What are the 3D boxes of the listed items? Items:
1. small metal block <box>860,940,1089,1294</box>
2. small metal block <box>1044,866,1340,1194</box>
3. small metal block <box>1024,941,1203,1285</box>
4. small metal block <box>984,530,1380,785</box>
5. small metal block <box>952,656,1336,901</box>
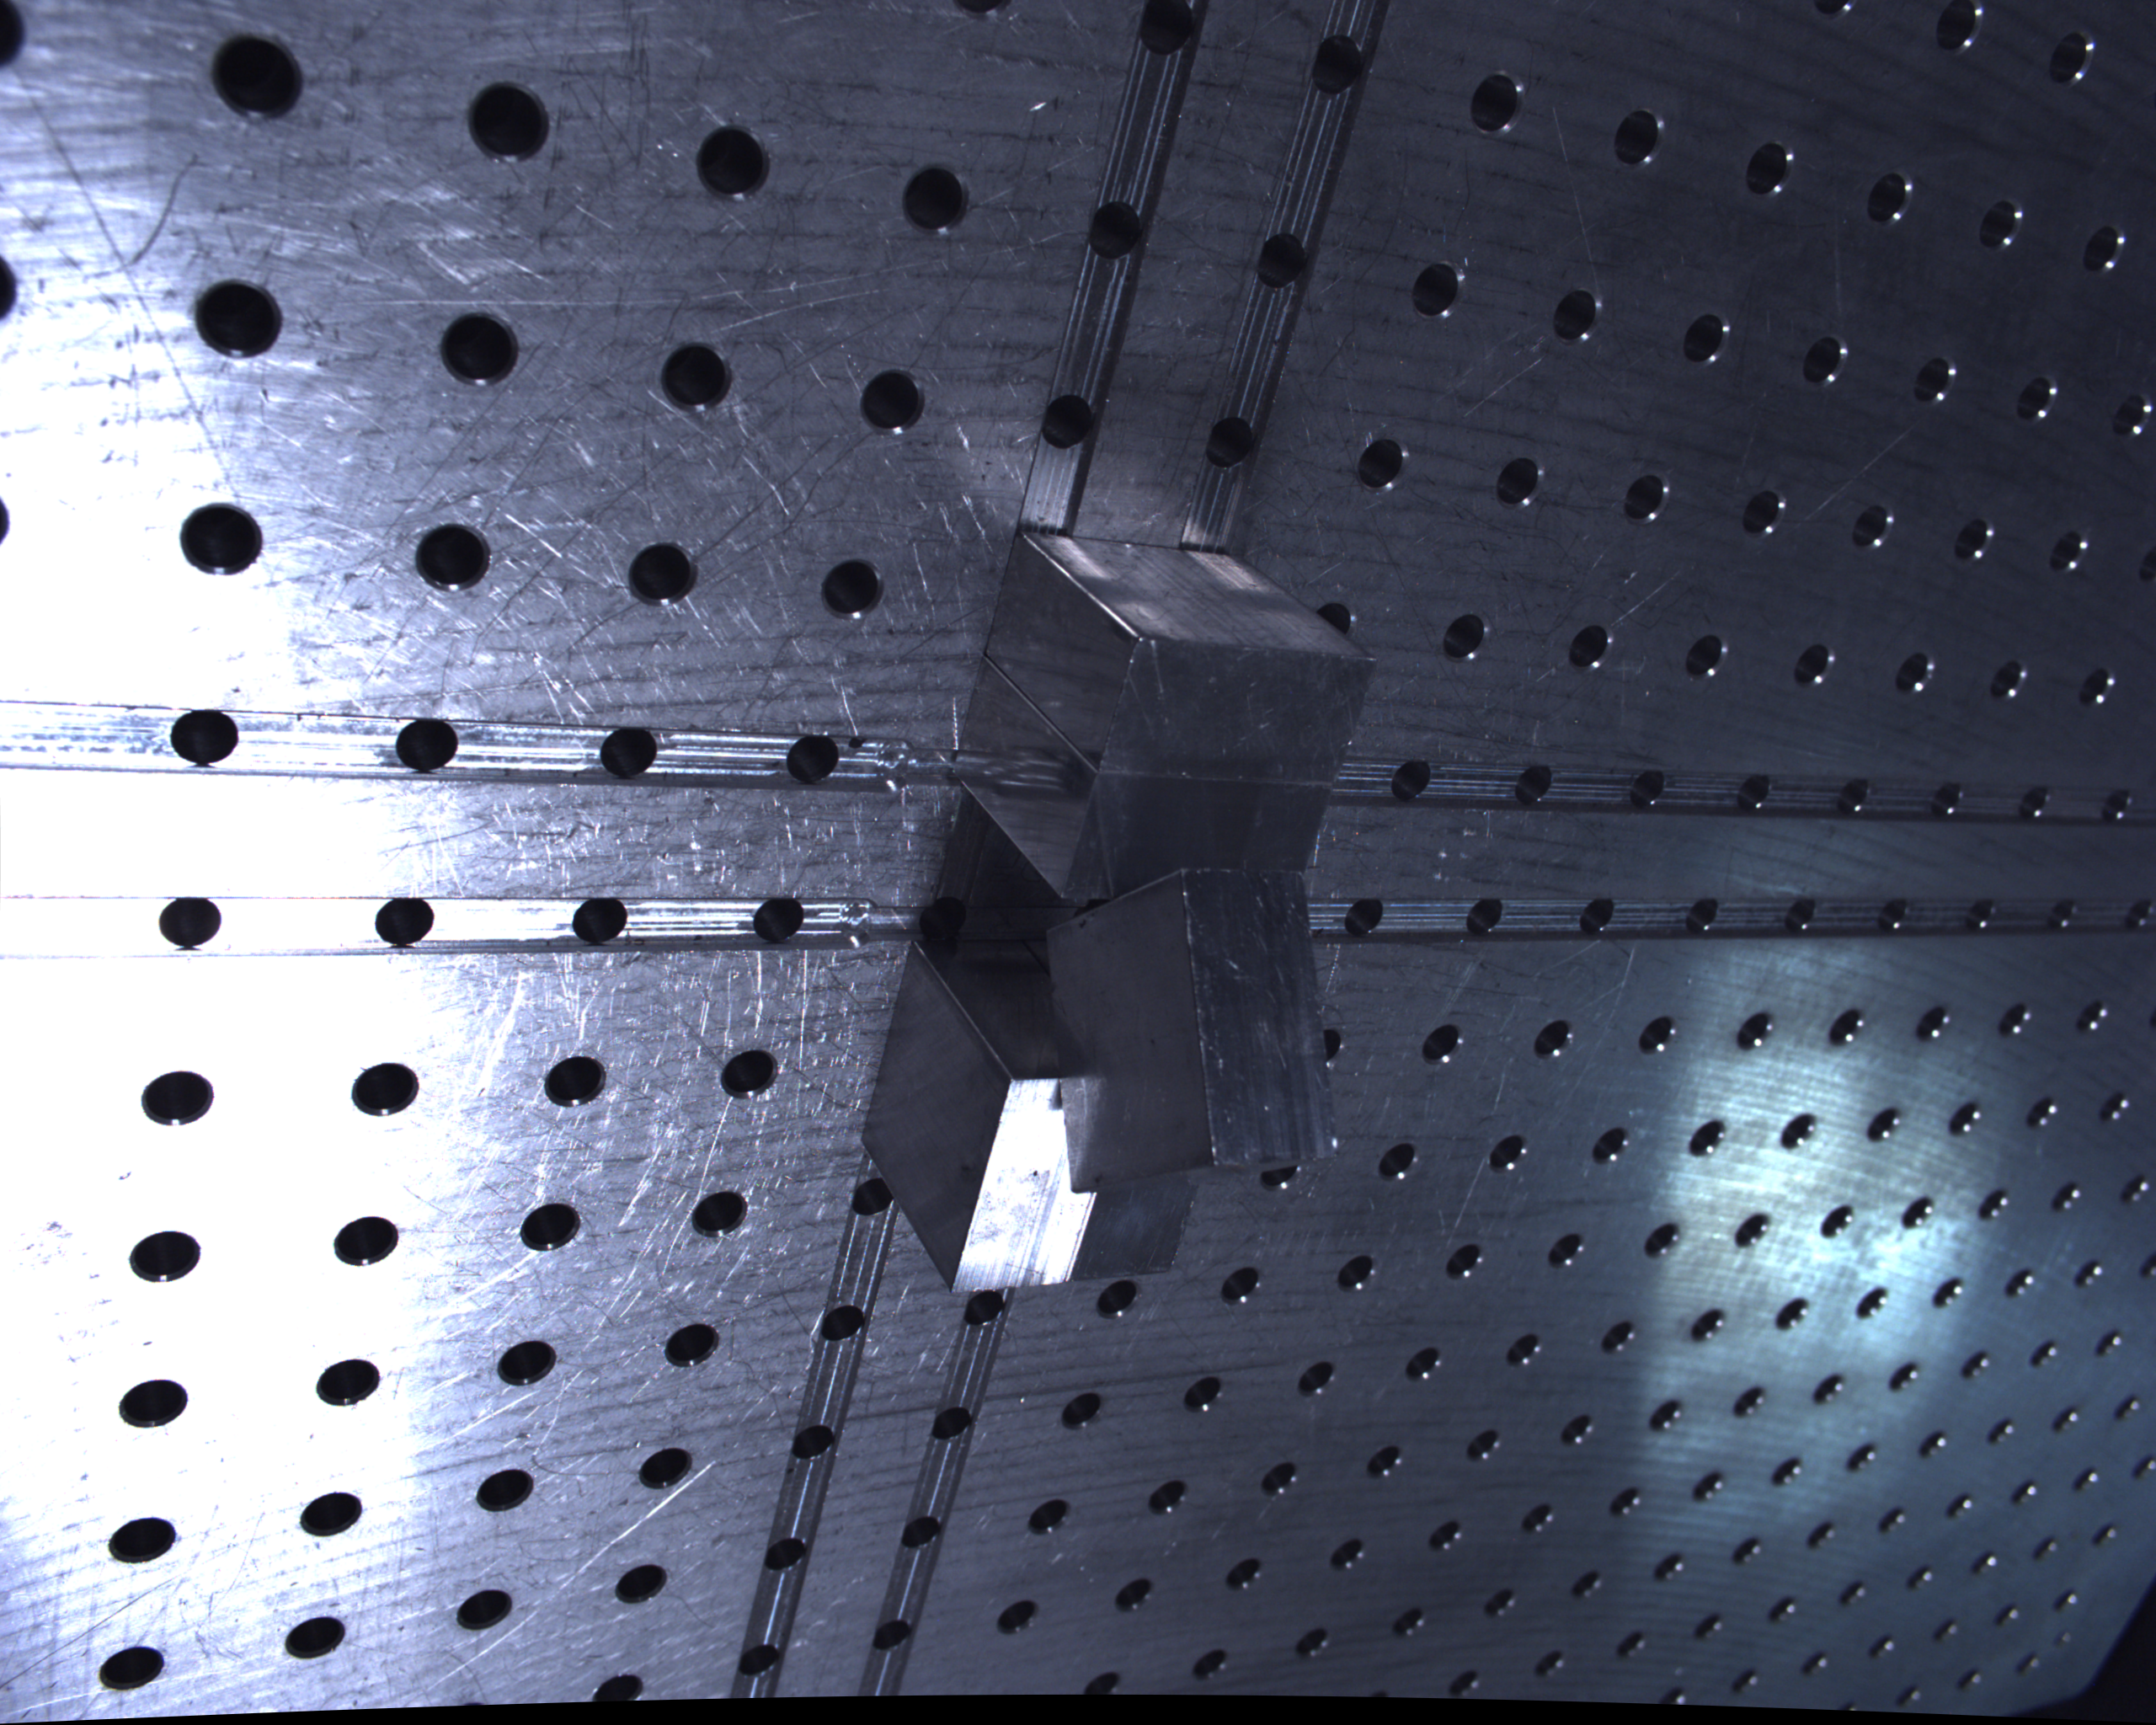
[{"bbox_3d":[-0.018,0.050,0.417,0.025,0.050,0.050,1,118,-30],"label":"small metal block"},{"bbox_3d":[0.019,0.031,0.372,0.025,0.050,0.050,1,76,-28],"label":"small metal block"},{"bbox_3d":[0.004,0.050,0.429,0.025,0.050,0.050,1,118,-30],"label":"small metal block"},{"bbox_3d":[0.018,-0.038,0.382,0.050,0.050,0.025,2,118,-30],"label":"small metal block"},{"bbox_3d":[0.011,-0.016,0.392,0.050,0.050,0.025,2,118,-30],"label":"small metal block"}]
